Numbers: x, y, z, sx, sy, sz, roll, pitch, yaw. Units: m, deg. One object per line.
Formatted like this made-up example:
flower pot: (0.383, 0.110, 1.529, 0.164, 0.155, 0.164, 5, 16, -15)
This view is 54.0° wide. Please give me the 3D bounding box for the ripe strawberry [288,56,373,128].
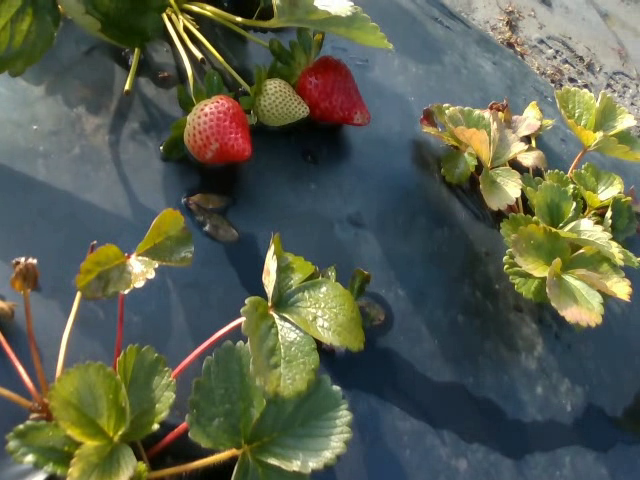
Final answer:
ripe strawberry: (0.013, -0.096, 0.424, 0.048, 0.065, 0.050, -43, 0, 4)
